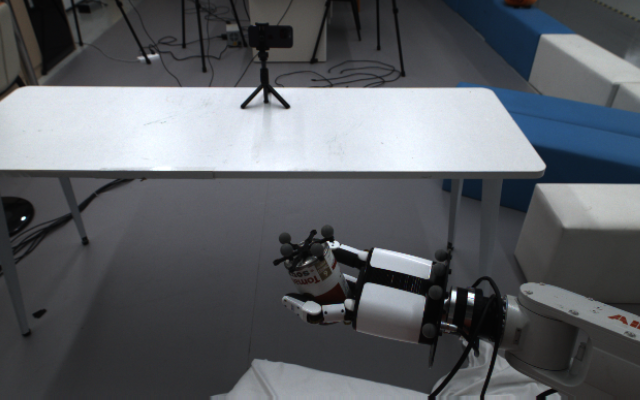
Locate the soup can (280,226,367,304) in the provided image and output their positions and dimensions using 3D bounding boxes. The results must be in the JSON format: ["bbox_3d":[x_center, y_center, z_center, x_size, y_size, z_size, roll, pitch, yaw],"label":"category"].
[{"bbox_3d":[0.002,0.112,0.670,0.067,0.101,0.067,-22,24,10],"label":"soup can"}]
